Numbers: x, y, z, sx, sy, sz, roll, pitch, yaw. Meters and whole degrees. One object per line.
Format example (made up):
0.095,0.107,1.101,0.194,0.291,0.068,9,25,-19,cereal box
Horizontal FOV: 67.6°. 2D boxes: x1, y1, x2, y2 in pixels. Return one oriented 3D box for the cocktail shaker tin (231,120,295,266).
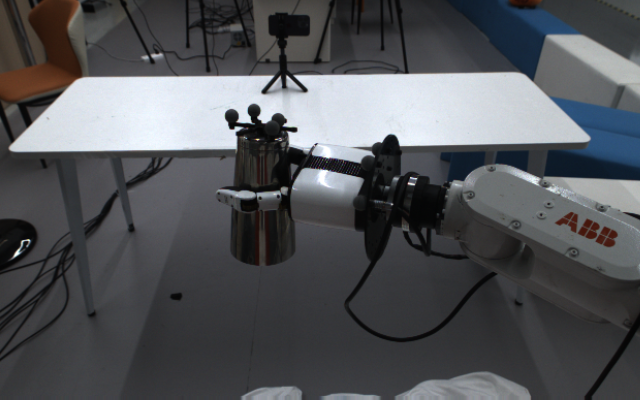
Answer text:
-0.076,-0.009,0.650,0.093,0.170,0.093,2,26,-1,cocktail shaker tin
